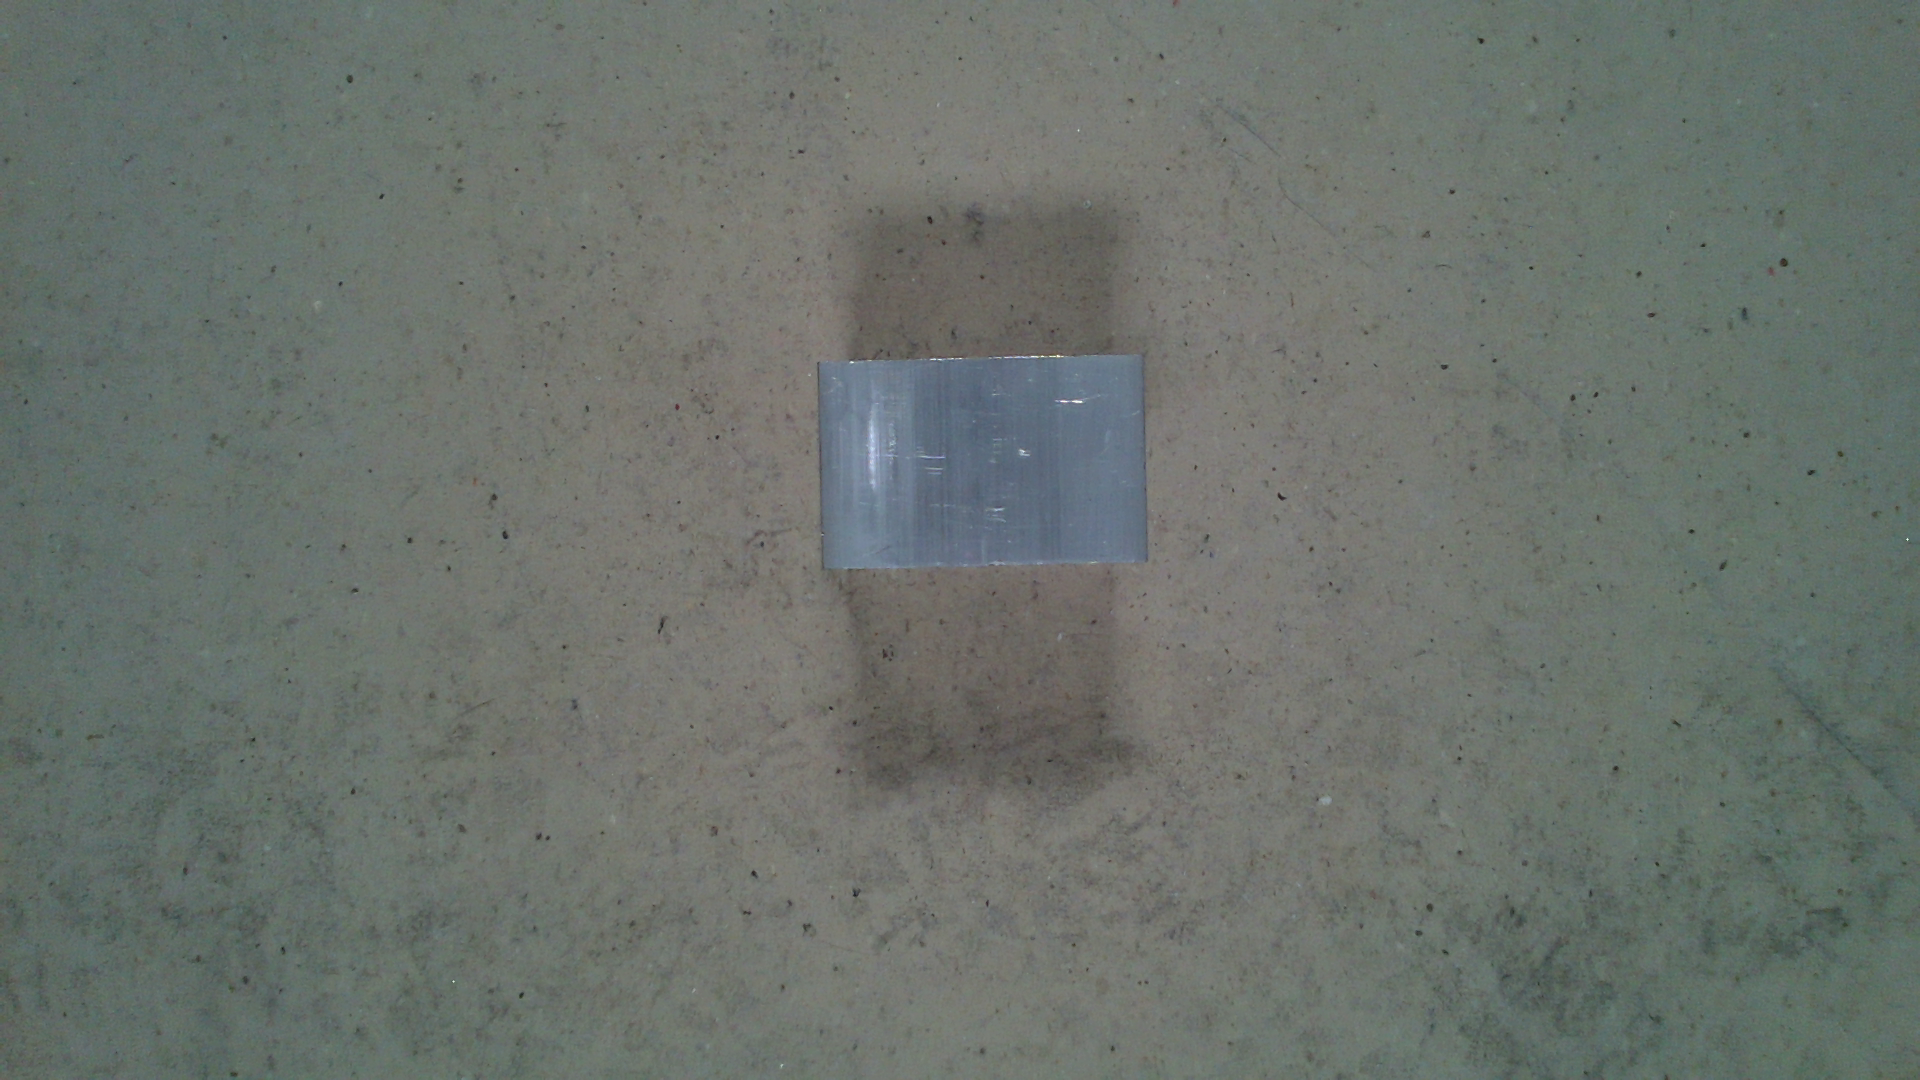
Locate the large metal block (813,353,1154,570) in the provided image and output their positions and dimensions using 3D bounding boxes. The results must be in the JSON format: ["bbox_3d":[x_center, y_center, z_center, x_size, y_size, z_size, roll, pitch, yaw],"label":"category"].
[{"bbox_3d":[0.006,-0.019,0.368,0.080,0.080,0.050,-1,90,0],"label":"large metal block"}]
